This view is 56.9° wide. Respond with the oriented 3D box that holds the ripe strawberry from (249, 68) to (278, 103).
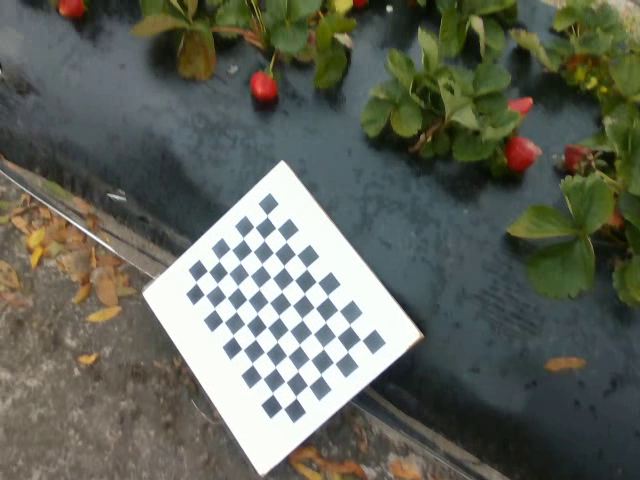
[{"bbox_3d":[-0.080,-0.219,0.890,0.045,0.048,0.054,-2,37,17],"label":"ripe strawberry"}]
